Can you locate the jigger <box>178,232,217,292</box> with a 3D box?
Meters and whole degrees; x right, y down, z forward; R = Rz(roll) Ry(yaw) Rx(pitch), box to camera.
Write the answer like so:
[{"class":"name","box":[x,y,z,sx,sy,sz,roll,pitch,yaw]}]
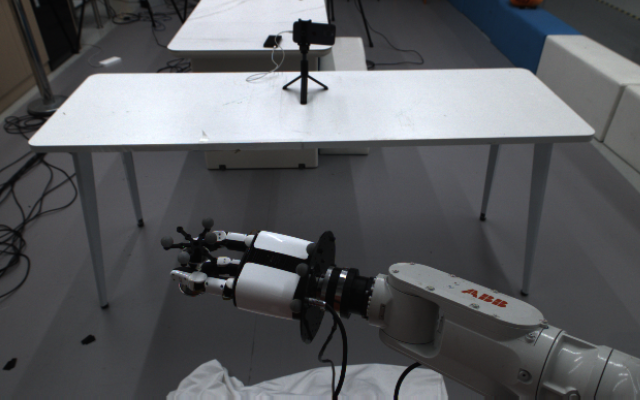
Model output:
[{"class":"jigger","box":[-0.185,0.104,0.719,0.043,0.071,0.043,9,36,-7]}]
